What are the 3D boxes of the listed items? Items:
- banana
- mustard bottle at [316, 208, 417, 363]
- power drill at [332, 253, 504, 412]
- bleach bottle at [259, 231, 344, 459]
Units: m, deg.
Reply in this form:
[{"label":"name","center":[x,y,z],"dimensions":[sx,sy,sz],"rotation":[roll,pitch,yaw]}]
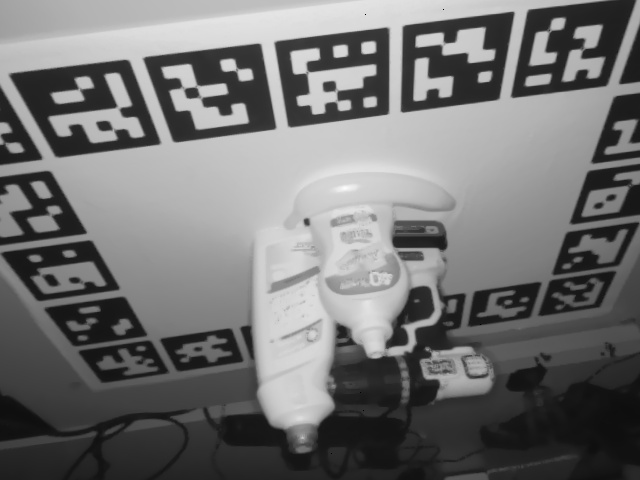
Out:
[{"label":"banana","center":[0.060,-0.041,0.768],"dimensions":[0.198,0.039,0.073],"rotation":[-5,136,-7]},{"label":"mustard bottle","center":[0.051,0.044,0.731],"dimensions":[0.096,0.192,0.058],"rotation":[-6,138,-1]},{"label":"power drill","center":[0.098,0.101,0.771],"dimensions":[0.186,0.188,0.056],"rotation":[2,138,-10]},{"label":"bleach bottle","center":[-0.012,0.109,0.754],"dimensions":[0.103,0.252,0.067],"rotation":[-5,143,-4]}]
